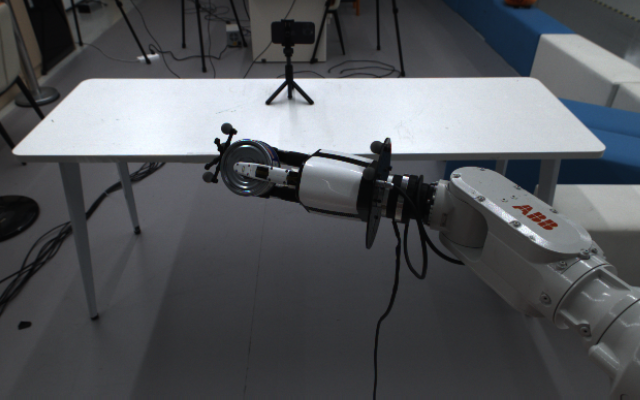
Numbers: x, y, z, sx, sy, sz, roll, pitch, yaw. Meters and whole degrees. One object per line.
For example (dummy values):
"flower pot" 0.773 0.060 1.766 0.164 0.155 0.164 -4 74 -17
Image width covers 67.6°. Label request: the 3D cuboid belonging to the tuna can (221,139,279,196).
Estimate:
"tuna can" -0.104 -0.049 0.723 0.085 0.085 0.034 12 5 14
